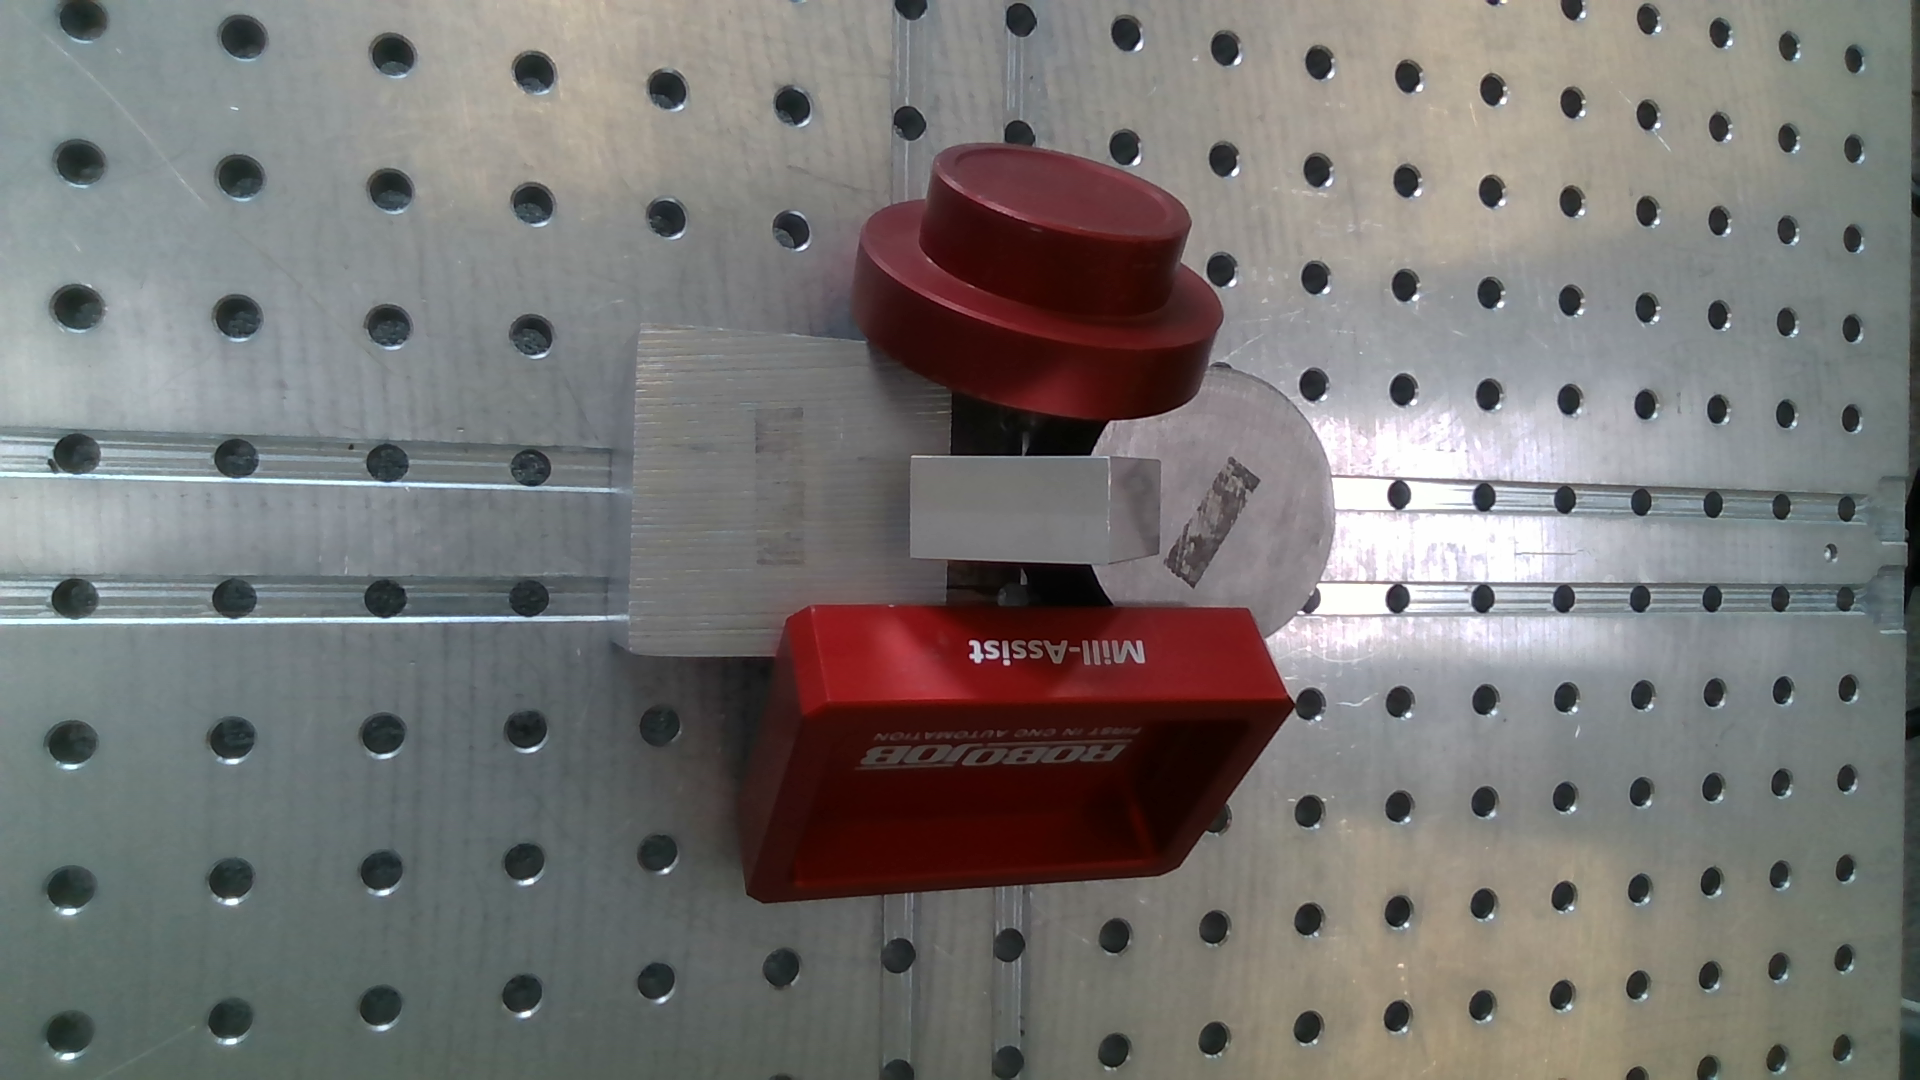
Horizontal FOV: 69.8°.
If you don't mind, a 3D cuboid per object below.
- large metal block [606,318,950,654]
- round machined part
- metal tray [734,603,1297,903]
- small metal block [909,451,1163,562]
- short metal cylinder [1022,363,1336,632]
[{"bbox_3d":[-0.049,-0.011,0.365,0.080,0.050,0.080,2,89,-20],"label":"large metal block"},{"bbox_3d":[0.022,-0.074,0.361,0.098,0.098,0.042,2,123,-20],"label":"round machined part"},{"bbox_3d":[0.012,0.057,0.368,0.130,0.090,0.030,1,47,-20],"label":"metal tray"},{"bbox_3d":[0.020,-0.009,0.346,0.050,0.050,0.025,2,93,22],"label":"small metal block"},{"bbox_3d":[0.062,-0.009,0.405,0.080,0.050,0.080,0,90,-20],"label":"short metal cylinder"}]
